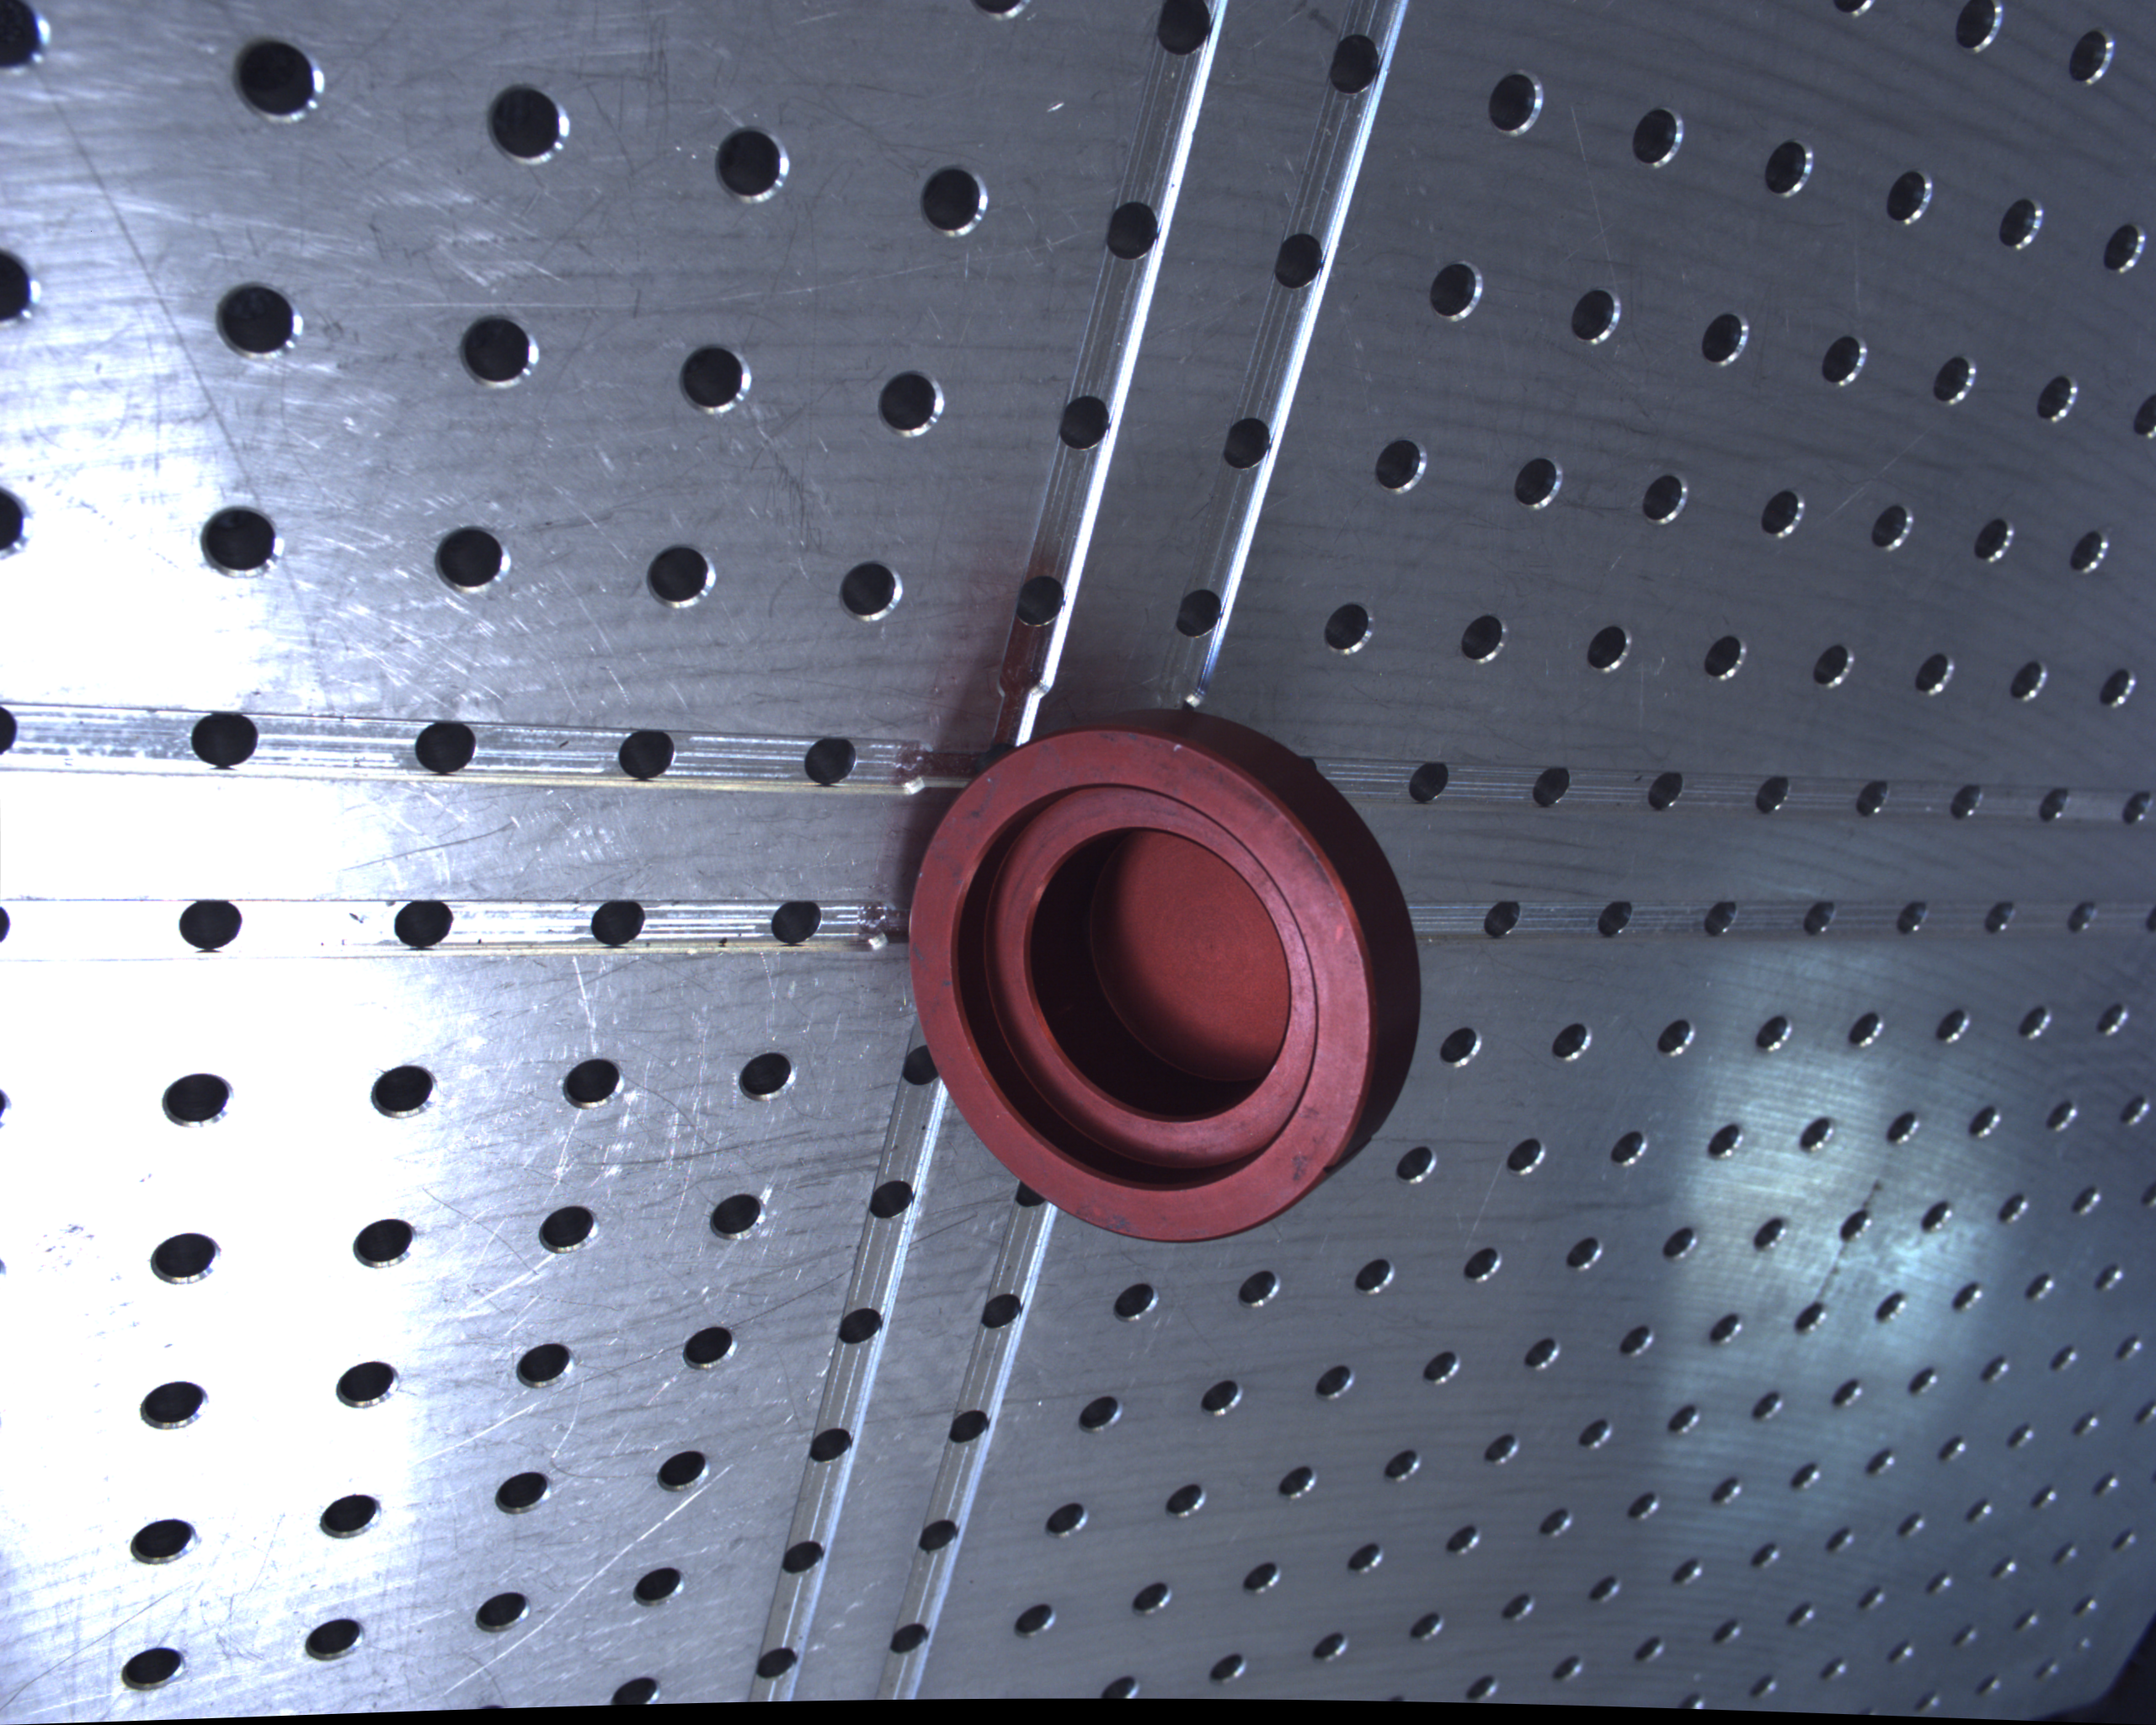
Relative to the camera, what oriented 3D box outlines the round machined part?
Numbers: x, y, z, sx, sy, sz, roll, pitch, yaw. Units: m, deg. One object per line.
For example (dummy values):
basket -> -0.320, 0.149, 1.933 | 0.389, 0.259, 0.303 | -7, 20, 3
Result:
round machined part -> 0.020, 0.019, 0.398 | 0.042, 0.098, 0.097 | -21, 134, -56
